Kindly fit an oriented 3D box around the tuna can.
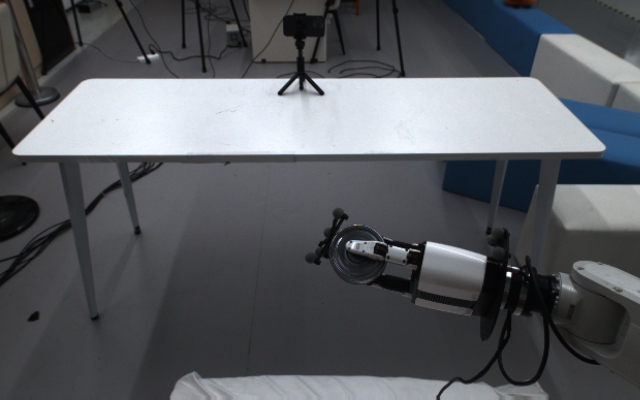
[{"bbox_3d":[0.060,0.079,0.713,0.085,0.034,0.085,-2,71,5],"label":"tuna can"}]
